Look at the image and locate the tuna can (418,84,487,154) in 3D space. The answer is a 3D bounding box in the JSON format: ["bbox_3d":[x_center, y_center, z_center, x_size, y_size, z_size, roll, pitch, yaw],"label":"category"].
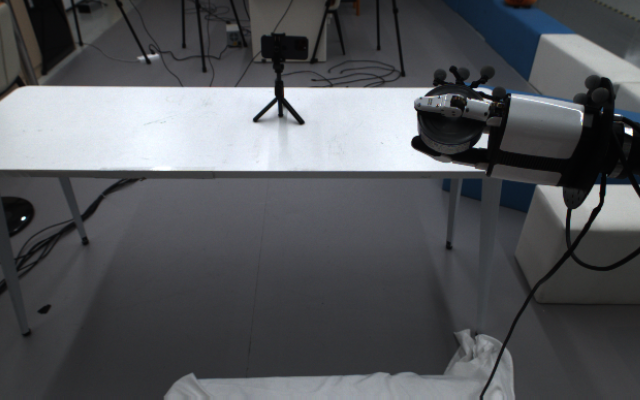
[{"bbox_3d":[0.169,-0.106,0.622,0.085,0.034,0.085,-4,67,10],"label":"tuna can"}]
